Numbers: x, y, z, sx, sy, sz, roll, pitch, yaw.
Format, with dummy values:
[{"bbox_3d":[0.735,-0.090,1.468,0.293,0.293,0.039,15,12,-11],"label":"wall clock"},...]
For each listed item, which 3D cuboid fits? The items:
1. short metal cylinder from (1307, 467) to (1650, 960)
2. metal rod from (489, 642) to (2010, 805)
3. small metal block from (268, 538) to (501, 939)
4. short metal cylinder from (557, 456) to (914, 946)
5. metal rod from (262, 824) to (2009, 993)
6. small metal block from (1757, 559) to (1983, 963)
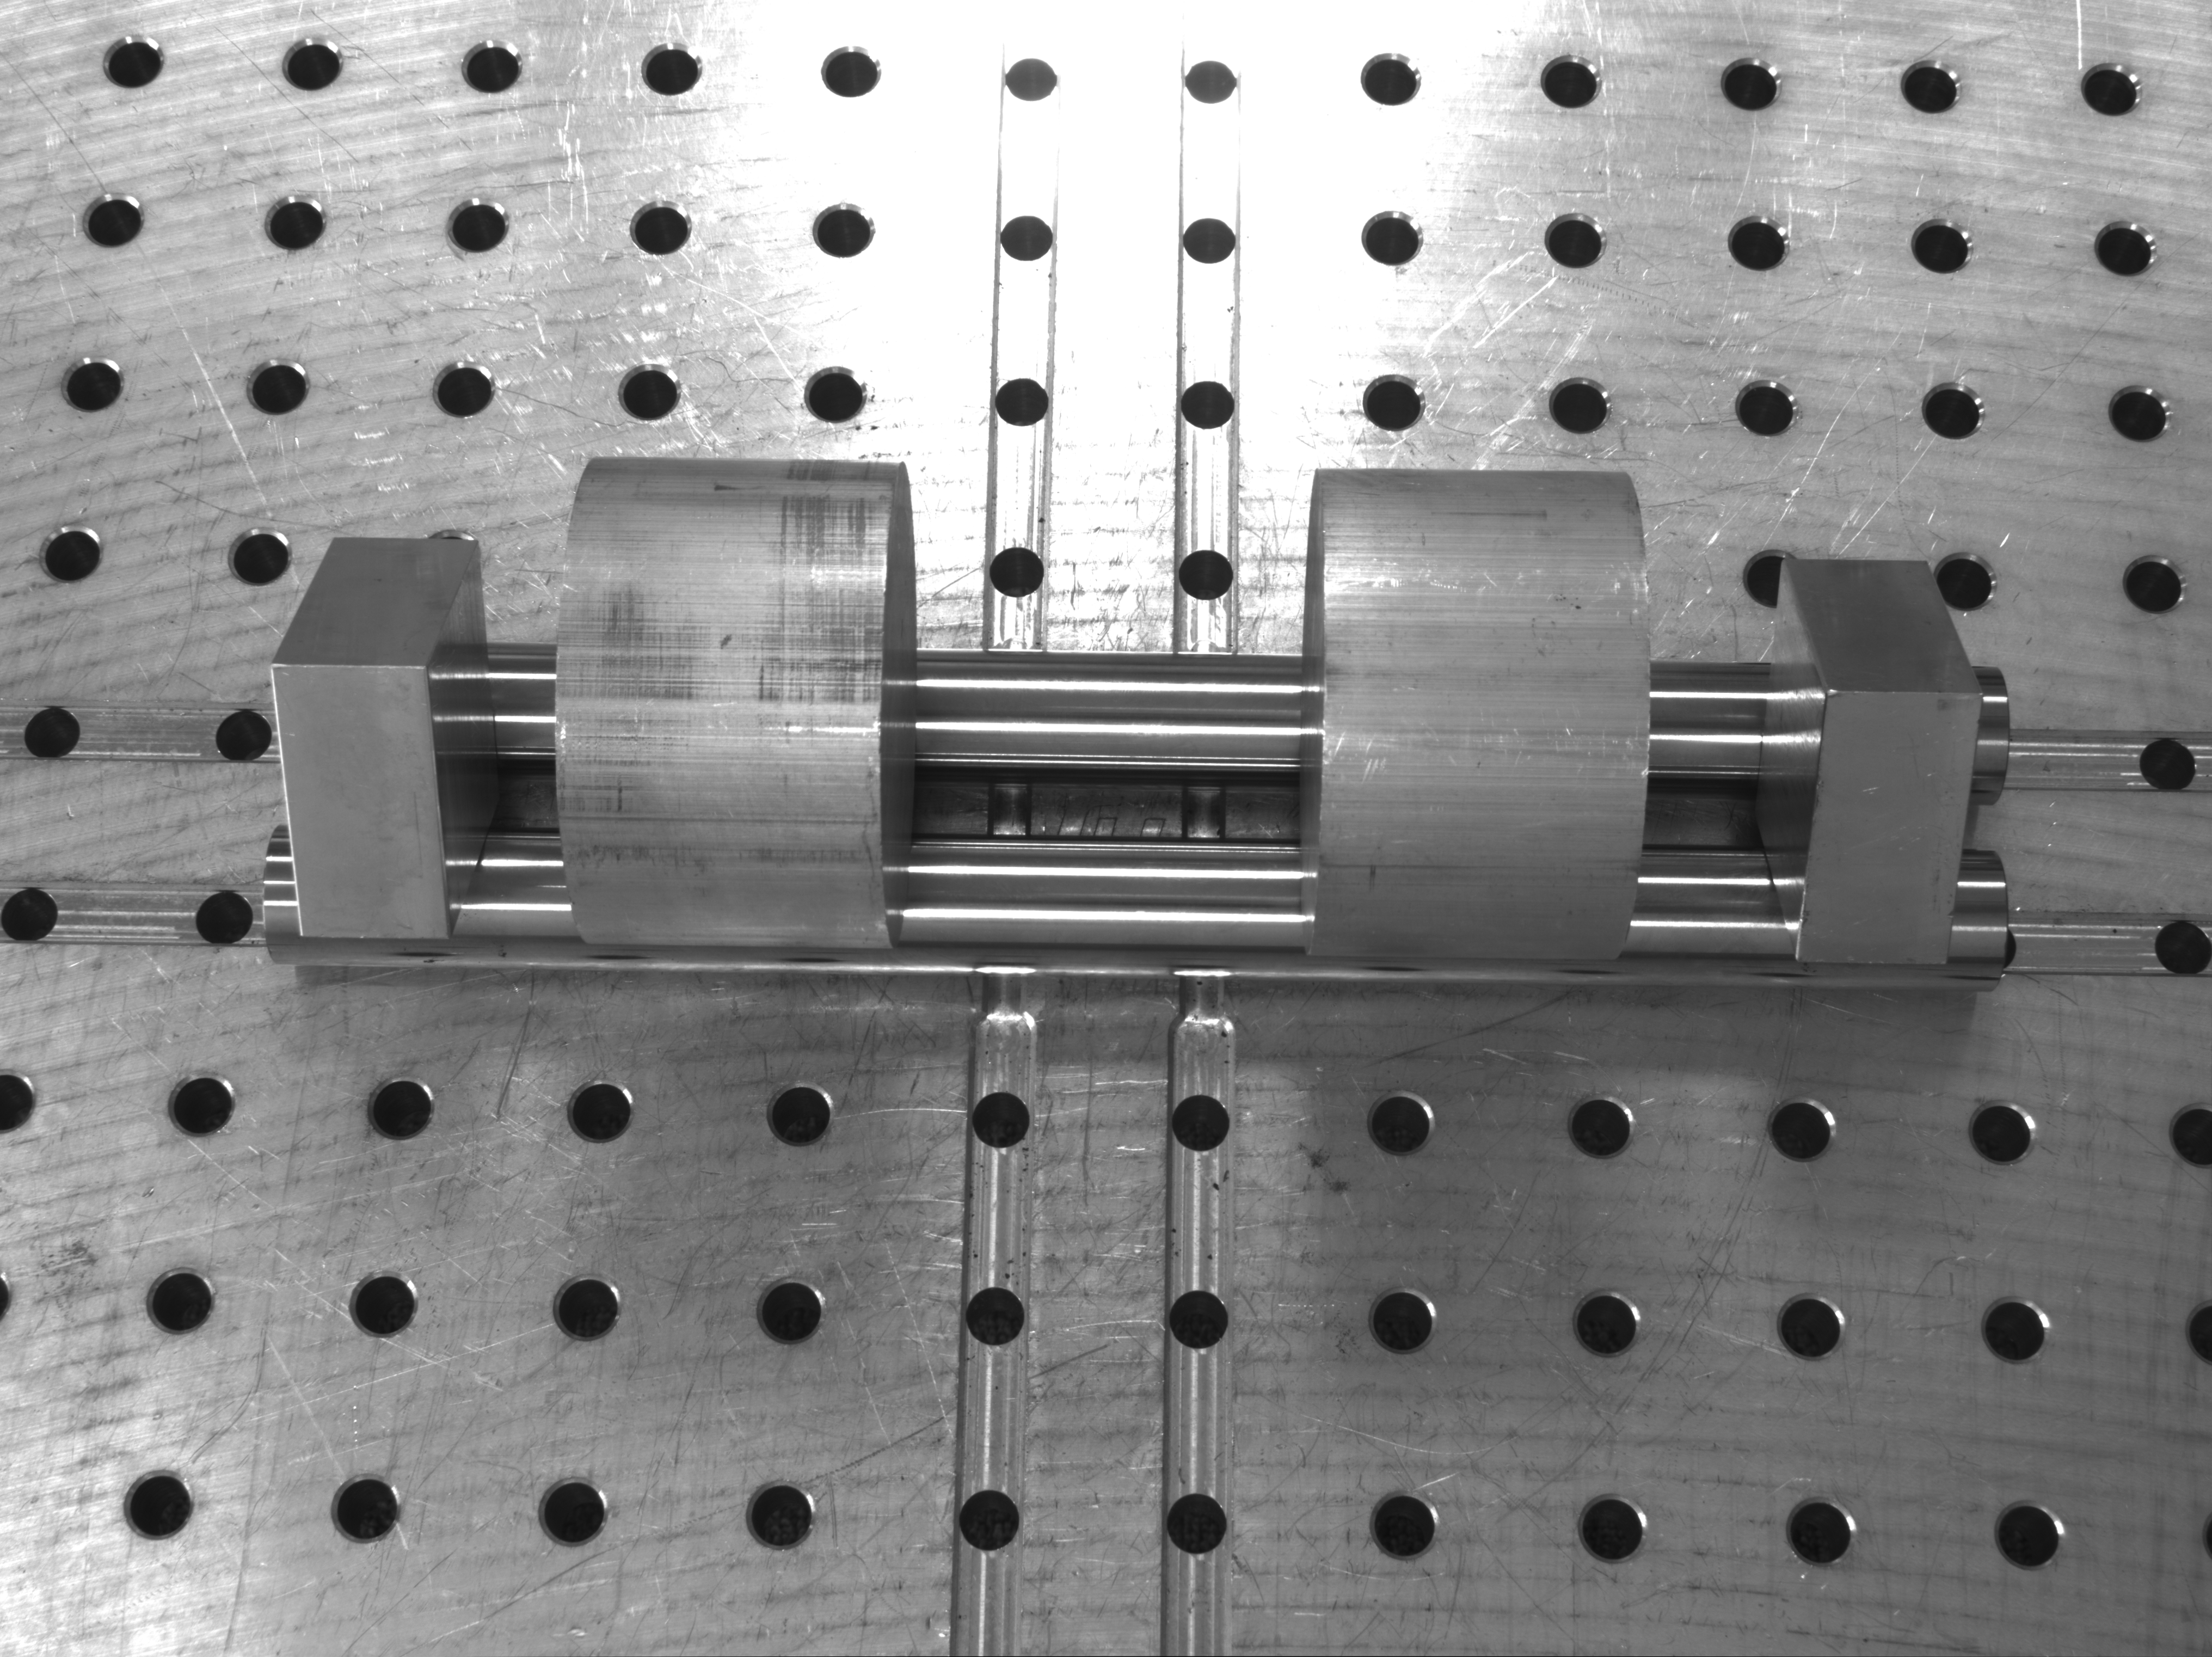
[{"bbox_3d":[0.059,-0.019,0.602,0.050,0.080,0.080,1,70,1],"label":"short metal cylinder"},{"bbox_3d":[0.008,-0.019,0.655,0.300,0.025,0.025,1,70,0],"label":"metal rod"},{"bbox_3d":[-0.120,-0.016,0.617,0.025,0.050,0.050,1,28,1],"label":"small metal block"},{"bbox_3d":[-0.059,-0.021,0.603,0.050,0.080,0.080,1,70,1],"label":"short metal cylinder"},{"bbox_3d":[0.005,0.014,0.643,0.300,0.025,0.025,1,70,0],"label":"metal rod"},{"bbox_3d":[0.127,-0.012,0.615,0.025,0.050,0.050,0,29,1],"label":"small metal block"}]
